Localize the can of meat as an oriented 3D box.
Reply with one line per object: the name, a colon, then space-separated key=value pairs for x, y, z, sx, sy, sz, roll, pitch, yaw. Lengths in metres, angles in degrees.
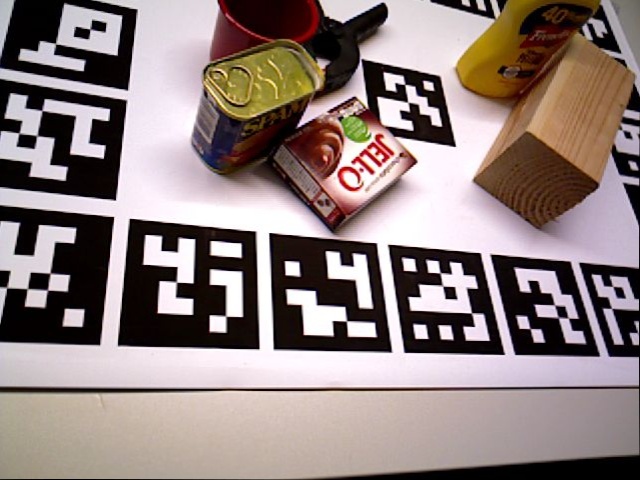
can of meat: x=-0.057 y=-0.111 z=0.451 sx=0.099 sy=0.085 sz=0.058 roll=-26 pitch=78 yaw=-31

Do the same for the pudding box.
pudding box: x=0.025 y=-0.070 z=0.498 sx=0.111 sy=0.039 sz=0.090 roll=-37 pitch=83 yaw=-34

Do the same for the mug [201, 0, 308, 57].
mug: x=-0.065 y=-0.194 z=0.524 sx=0.093 sy=0.083 sz=0.115 roll=26 pitch=60 yaw=-9

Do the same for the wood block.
wood block: x=0.261 y=-0.116 z=0.589 sx=0.090 sy=0.093 sz=0.201 roll=37 pitch=55 yaw=1

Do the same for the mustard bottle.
mustard bottle: x=0.235 y=-0.237 z=0.571 sx=0.095 sy=0.196 sz=0.058 roll=1 pitch=65 yaw=-21

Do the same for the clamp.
clamp: x=0.007 y=-0.220 z=0.571 sx=0.121 sy=0.037 sz=0.162 roll=24 pitch=61 yaw=-12
